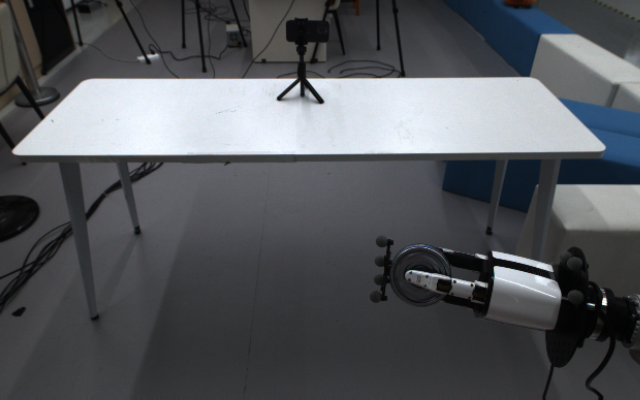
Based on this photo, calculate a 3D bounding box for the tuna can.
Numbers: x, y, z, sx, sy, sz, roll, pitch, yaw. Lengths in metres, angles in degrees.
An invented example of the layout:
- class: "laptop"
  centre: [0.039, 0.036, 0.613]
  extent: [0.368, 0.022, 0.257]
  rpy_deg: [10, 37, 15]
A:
- class: "tuna can"
  centre: [0.144, 0.102, 0.678]
  extent: [0.085, 0.085, 0.034]
  rpy_deg: [10, 2, 11]
